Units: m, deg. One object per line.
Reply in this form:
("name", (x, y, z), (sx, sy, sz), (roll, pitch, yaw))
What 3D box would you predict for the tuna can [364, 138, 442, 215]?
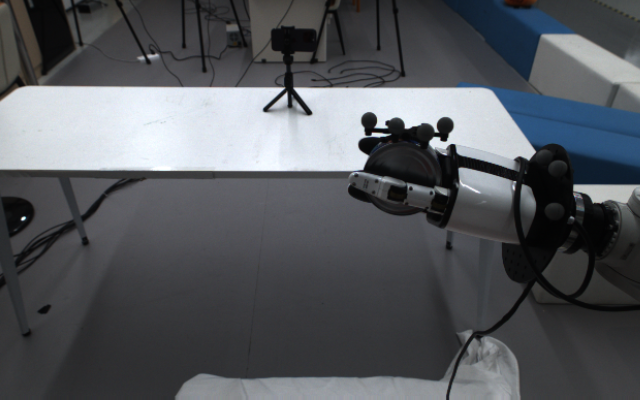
("tuna can", (0.092, -0.030, 0.539), (0.085, 0.085, 0.034), (9, 24, 10))
